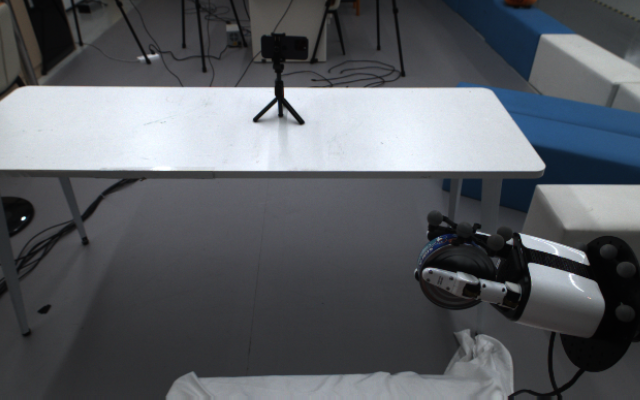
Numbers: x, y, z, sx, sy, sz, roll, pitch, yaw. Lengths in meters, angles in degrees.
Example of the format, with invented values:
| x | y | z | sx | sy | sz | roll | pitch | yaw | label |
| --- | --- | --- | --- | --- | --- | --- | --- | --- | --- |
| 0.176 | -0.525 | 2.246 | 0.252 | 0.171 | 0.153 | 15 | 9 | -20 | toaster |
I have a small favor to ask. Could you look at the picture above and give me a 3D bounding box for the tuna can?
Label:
| x | y | z | sx | sy | sz | roll | pitch | yaw | label |
| --- | --- | --- | --- | --- | --- | --- | --- | --- | --- |
| 0.159 | 0.079 | 0.564 | 0.085 | 0.085 | 0.034 | 4 | 18 | 3 | tuna can |
